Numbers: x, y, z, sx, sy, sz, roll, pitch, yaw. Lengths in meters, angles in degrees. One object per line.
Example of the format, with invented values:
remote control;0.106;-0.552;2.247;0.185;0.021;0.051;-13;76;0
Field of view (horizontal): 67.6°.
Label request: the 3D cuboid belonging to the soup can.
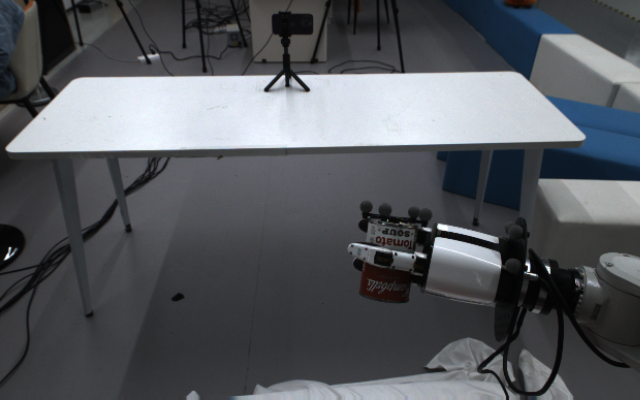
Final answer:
soup can;0.093;0.079;0.645;0.067;0.101;0.067;7;3;0
